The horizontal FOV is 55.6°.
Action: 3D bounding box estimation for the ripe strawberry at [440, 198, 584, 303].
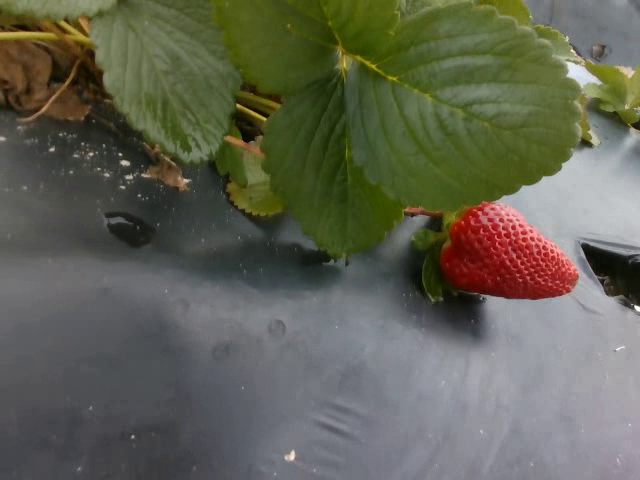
[{"bbox_3d":[0.082,0.009,0.261,0.064,0.046,0.048,28,3,21],"label":"ripe strawberry"}]
